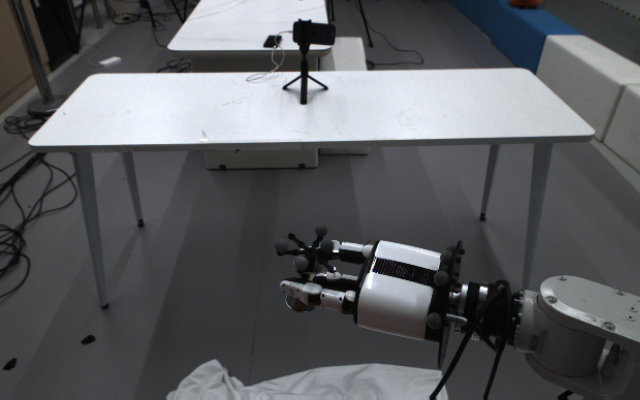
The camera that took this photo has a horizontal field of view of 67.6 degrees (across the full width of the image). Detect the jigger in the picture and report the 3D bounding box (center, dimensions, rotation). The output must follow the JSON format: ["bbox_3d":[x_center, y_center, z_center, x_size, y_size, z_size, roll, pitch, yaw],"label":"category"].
[{"bbox_3d":[-0.021,0.110,0.649,0.043,0.071,0.043,9,30,-5],"label":"jigger"}]
